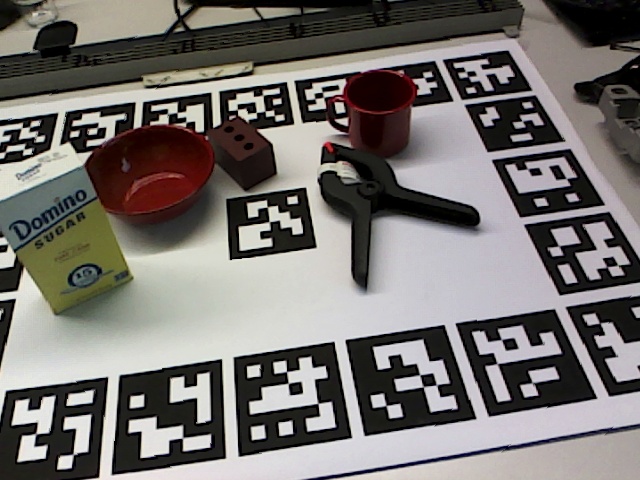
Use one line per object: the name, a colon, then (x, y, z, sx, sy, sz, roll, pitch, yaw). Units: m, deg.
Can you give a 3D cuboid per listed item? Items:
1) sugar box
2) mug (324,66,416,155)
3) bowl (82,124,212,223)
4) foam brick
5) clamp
sugar box: (-0.265, 0.000, 0.638, 0.092, 0.176, 0.045, -29, 56, -20)
mug: (0.062, -0.169, 0.810, 0.117, 0.081, 0.093, 13, 52, 11)
bowl: (-0.211, -0.074, 0.773, 0.162, 0.055, 0.162, -2, 50, 2)
foam brick: (-0.099, -0.108, 0.802, 0.052, 0.051, 0.078, -32, 56, -19)
clamp: (0.052, -0.056, 0.740, 0.165, 0.036, 0.204, -29, 55, -16)
